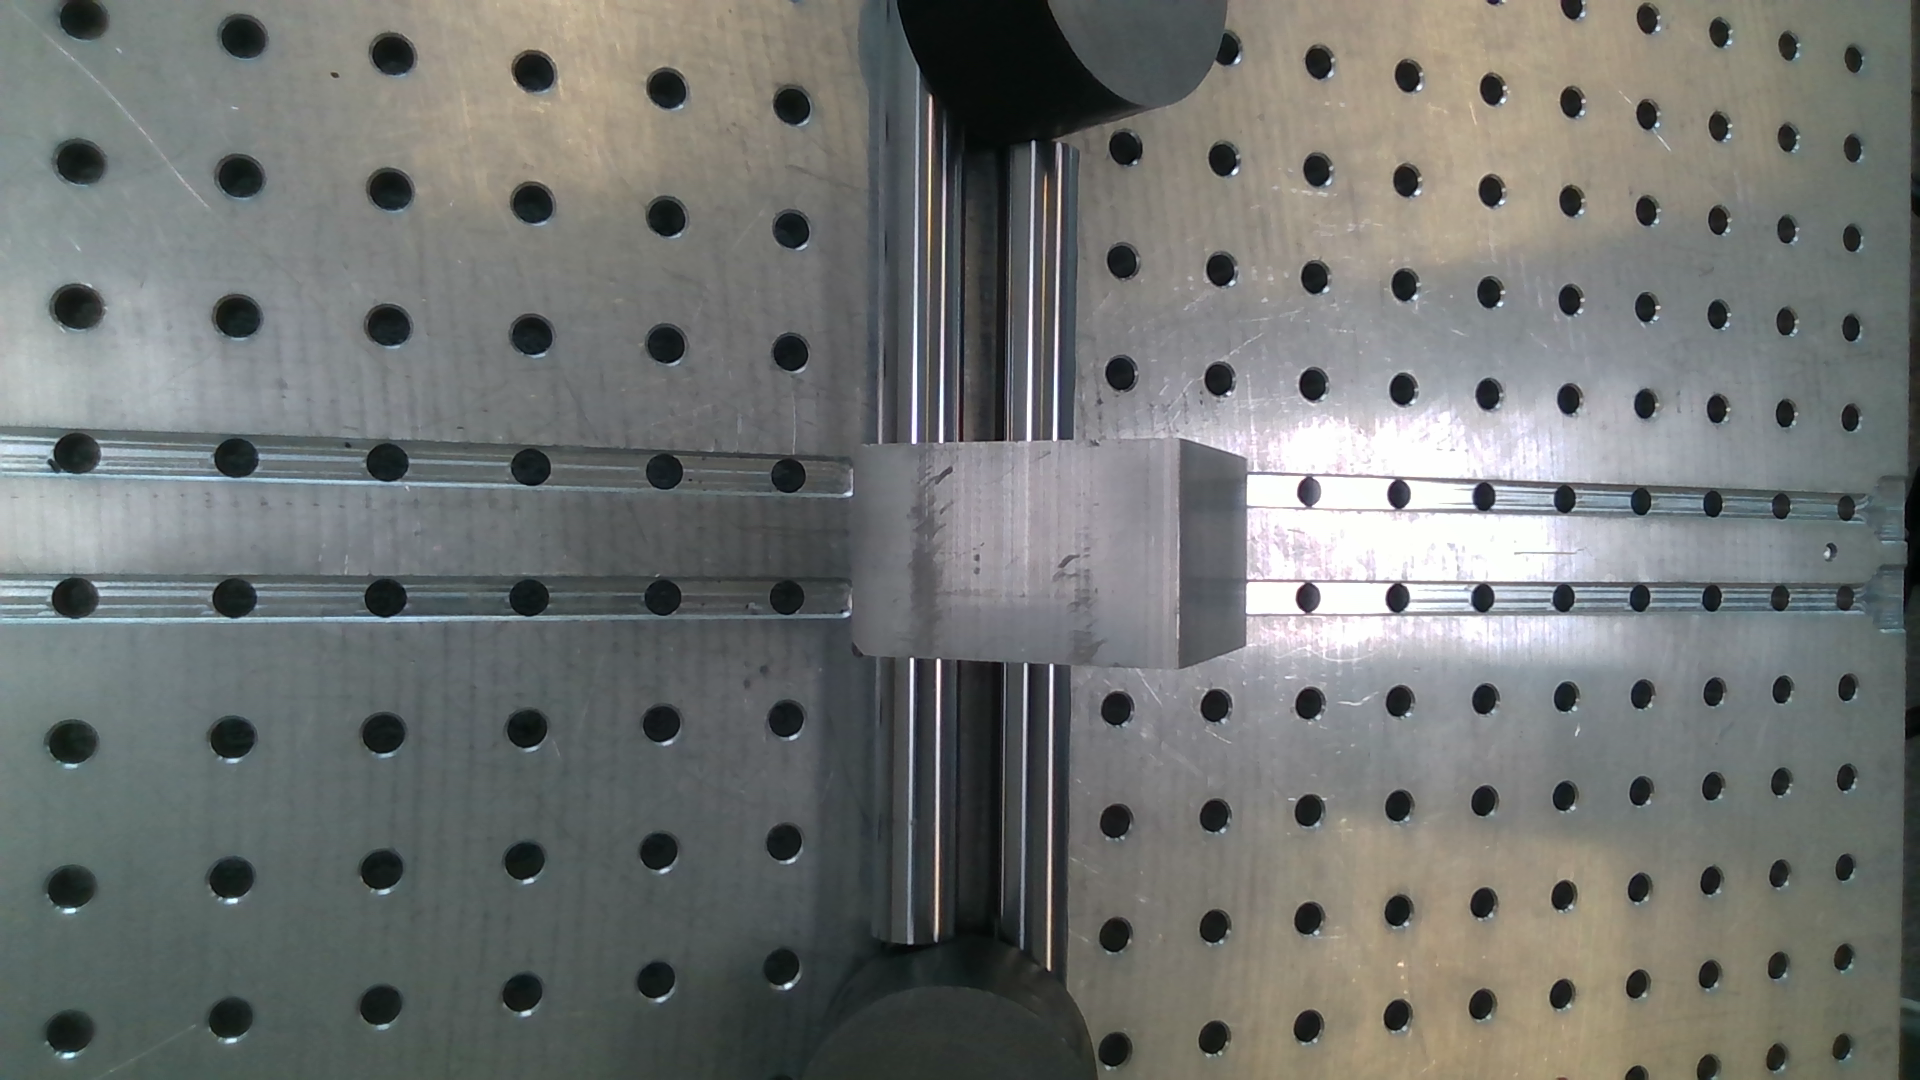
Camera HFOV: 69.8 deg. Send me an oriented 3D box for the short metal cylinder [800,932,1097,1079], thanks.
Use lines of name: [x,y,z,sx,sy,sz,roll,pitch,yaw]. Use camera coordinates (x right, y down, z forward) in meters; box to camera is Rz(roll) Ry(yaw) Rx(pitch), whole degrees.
short metal cylinder: [-0.003,0.151,0.369,0.080,0.050,0.080,0,90,2]

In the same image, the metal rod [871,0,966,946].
metal rod: [-0.011,-0.038,0.392,0.025,0.025,0.300,1,90,-20]

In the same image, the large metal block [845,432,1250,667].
large metal block: [0.025,0.002,0.345,0.080,0.080,0.050,0,90,22]

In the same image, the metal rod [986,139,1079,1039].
metal rod: [0.021,0.036,0.404,0.025,0.025,0.300,1,90,-20]

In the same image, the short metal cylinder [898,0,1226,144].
short metal cylinder: [0.029,-0.154,0.378,0.080,0.050,0.080,0,91,-43]
